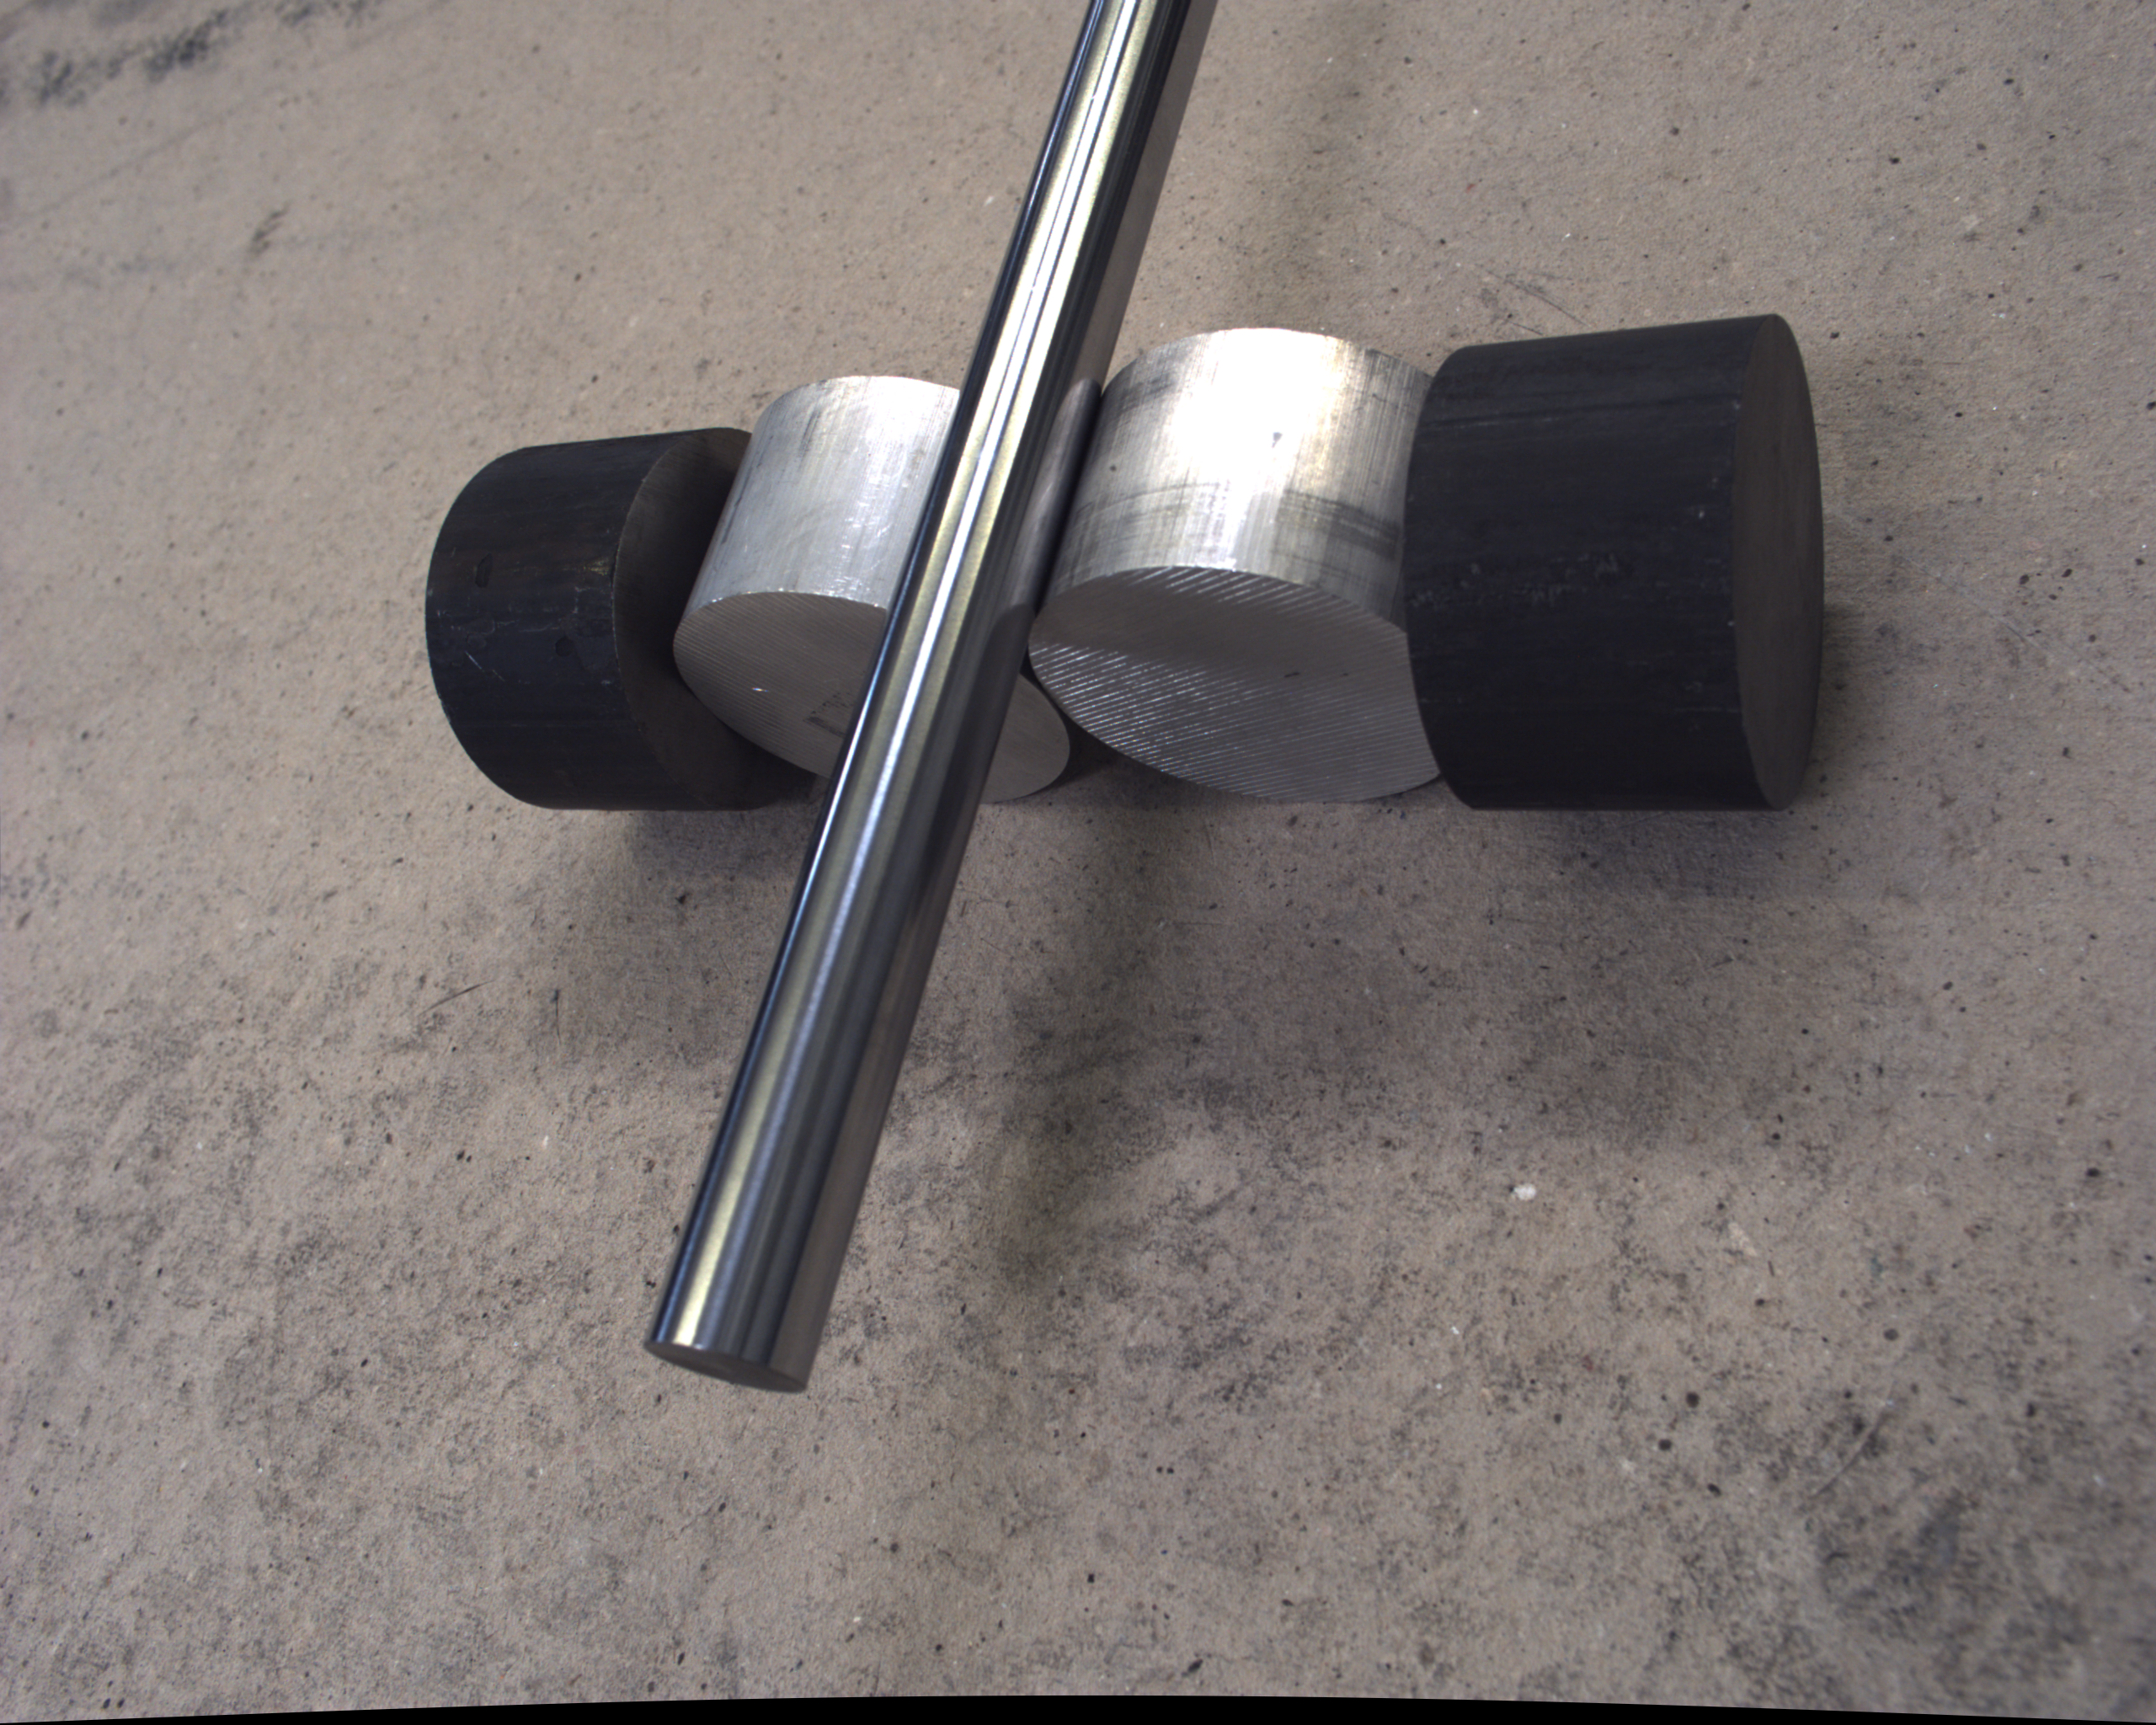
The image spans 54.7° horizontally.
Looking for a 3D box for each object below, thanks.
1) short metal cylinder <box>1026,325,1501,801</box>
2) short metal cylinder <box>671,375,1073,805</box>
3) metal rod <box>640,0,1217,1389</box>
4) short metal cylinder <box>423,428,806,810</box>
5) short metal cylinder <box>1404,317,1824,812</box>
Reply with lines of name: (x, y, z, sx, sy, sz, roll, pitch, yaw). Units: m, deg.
short metal cylinder: (0.035, -0.053, 0.383, 0.080, 0.080, 0.050, 1, 62, 28)
short metal cylinder: (-0.035, -0.053, 0.421, 0.080, 0.080, 0.050, 1, 62, 28)
metal rod: (-0.017, -0.057, 0.370, 0.025, 0.025, 0.300, 1, 62, 28)
short metal cylinder: (-0.093, -0.051, 0.450, 0.050, 0.080, 0.080, 1, 62, 29)
short metal cylinder: (0.093, -0.048, 0.351, 0.050, 0.080, 0.080, 1, 62, 29)
